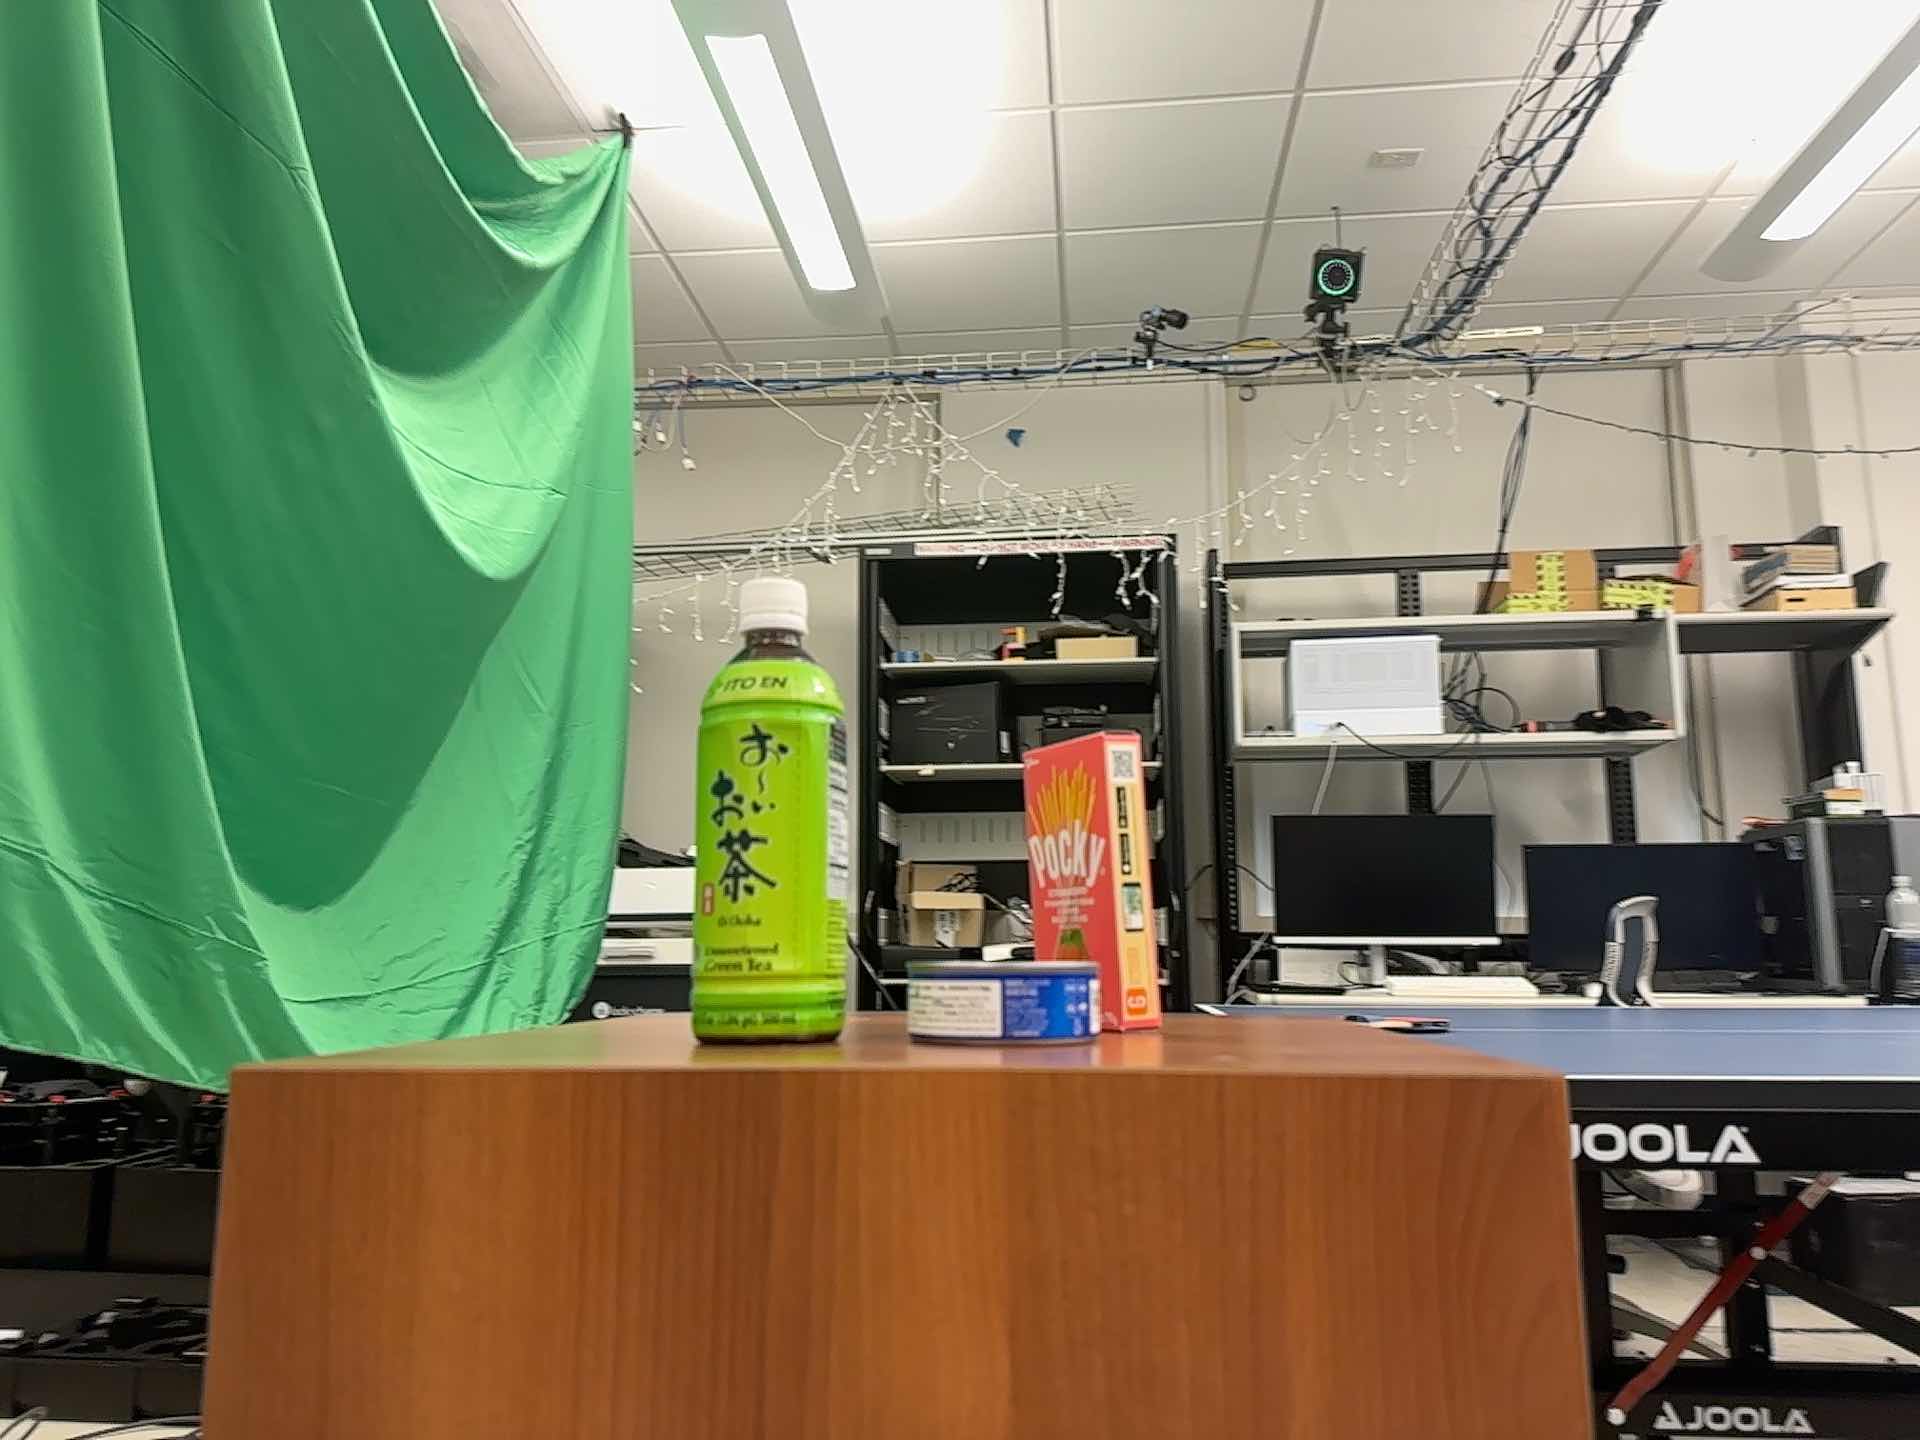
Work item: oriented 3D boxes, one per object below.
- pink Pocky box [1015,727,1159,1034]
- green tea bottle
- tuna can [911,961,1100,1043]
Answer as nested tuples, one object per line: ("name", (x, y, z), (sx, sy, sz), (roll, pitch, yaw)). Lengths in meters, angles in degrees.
("pink Pocky box", (0.065, 0.086, 0.716), (0.029, 0.155, 0.084), (2, -9, -30))
("green tea bottle", (-0.086, 0.041, 0.614), (0.073, 0.212, 0.073), (-2, -11, 0))
("tuna can", (0.020, 0.124, 0.598), (0.083, 0.034, 0.083), (0, -11, 0))
